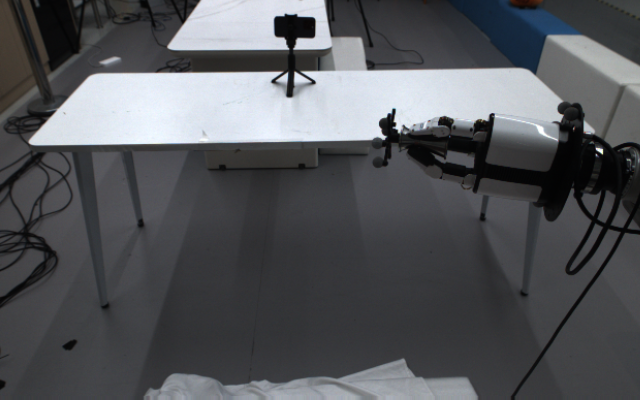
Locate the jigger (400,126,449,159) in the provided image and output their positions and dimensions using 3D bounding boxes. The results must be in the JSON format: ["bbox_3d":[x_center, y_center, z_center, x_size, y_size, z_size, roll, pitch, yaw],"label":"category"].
[{"bbox_3d":[0.157,-0.089,0.698,0.071,0.043,0.043,10,35,15],"label":"jigger"}]
